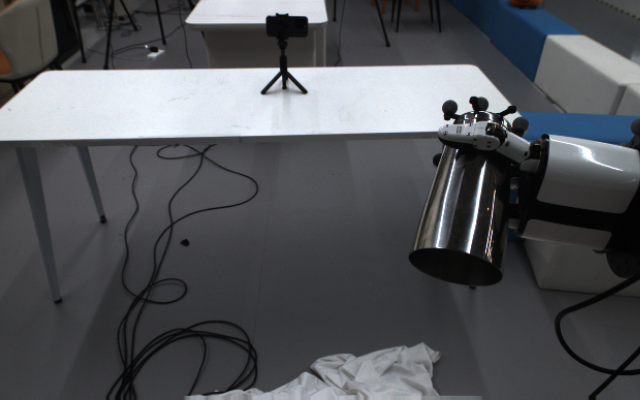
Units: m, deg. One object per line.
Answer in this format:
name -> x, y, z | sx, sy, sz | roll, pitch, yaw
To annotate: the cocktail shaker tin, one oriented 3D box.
cocktail shaker tin -> 0.160, -0.010, 0.509 | 0.093, 0.093, 0.170 | 13, 65, 15
